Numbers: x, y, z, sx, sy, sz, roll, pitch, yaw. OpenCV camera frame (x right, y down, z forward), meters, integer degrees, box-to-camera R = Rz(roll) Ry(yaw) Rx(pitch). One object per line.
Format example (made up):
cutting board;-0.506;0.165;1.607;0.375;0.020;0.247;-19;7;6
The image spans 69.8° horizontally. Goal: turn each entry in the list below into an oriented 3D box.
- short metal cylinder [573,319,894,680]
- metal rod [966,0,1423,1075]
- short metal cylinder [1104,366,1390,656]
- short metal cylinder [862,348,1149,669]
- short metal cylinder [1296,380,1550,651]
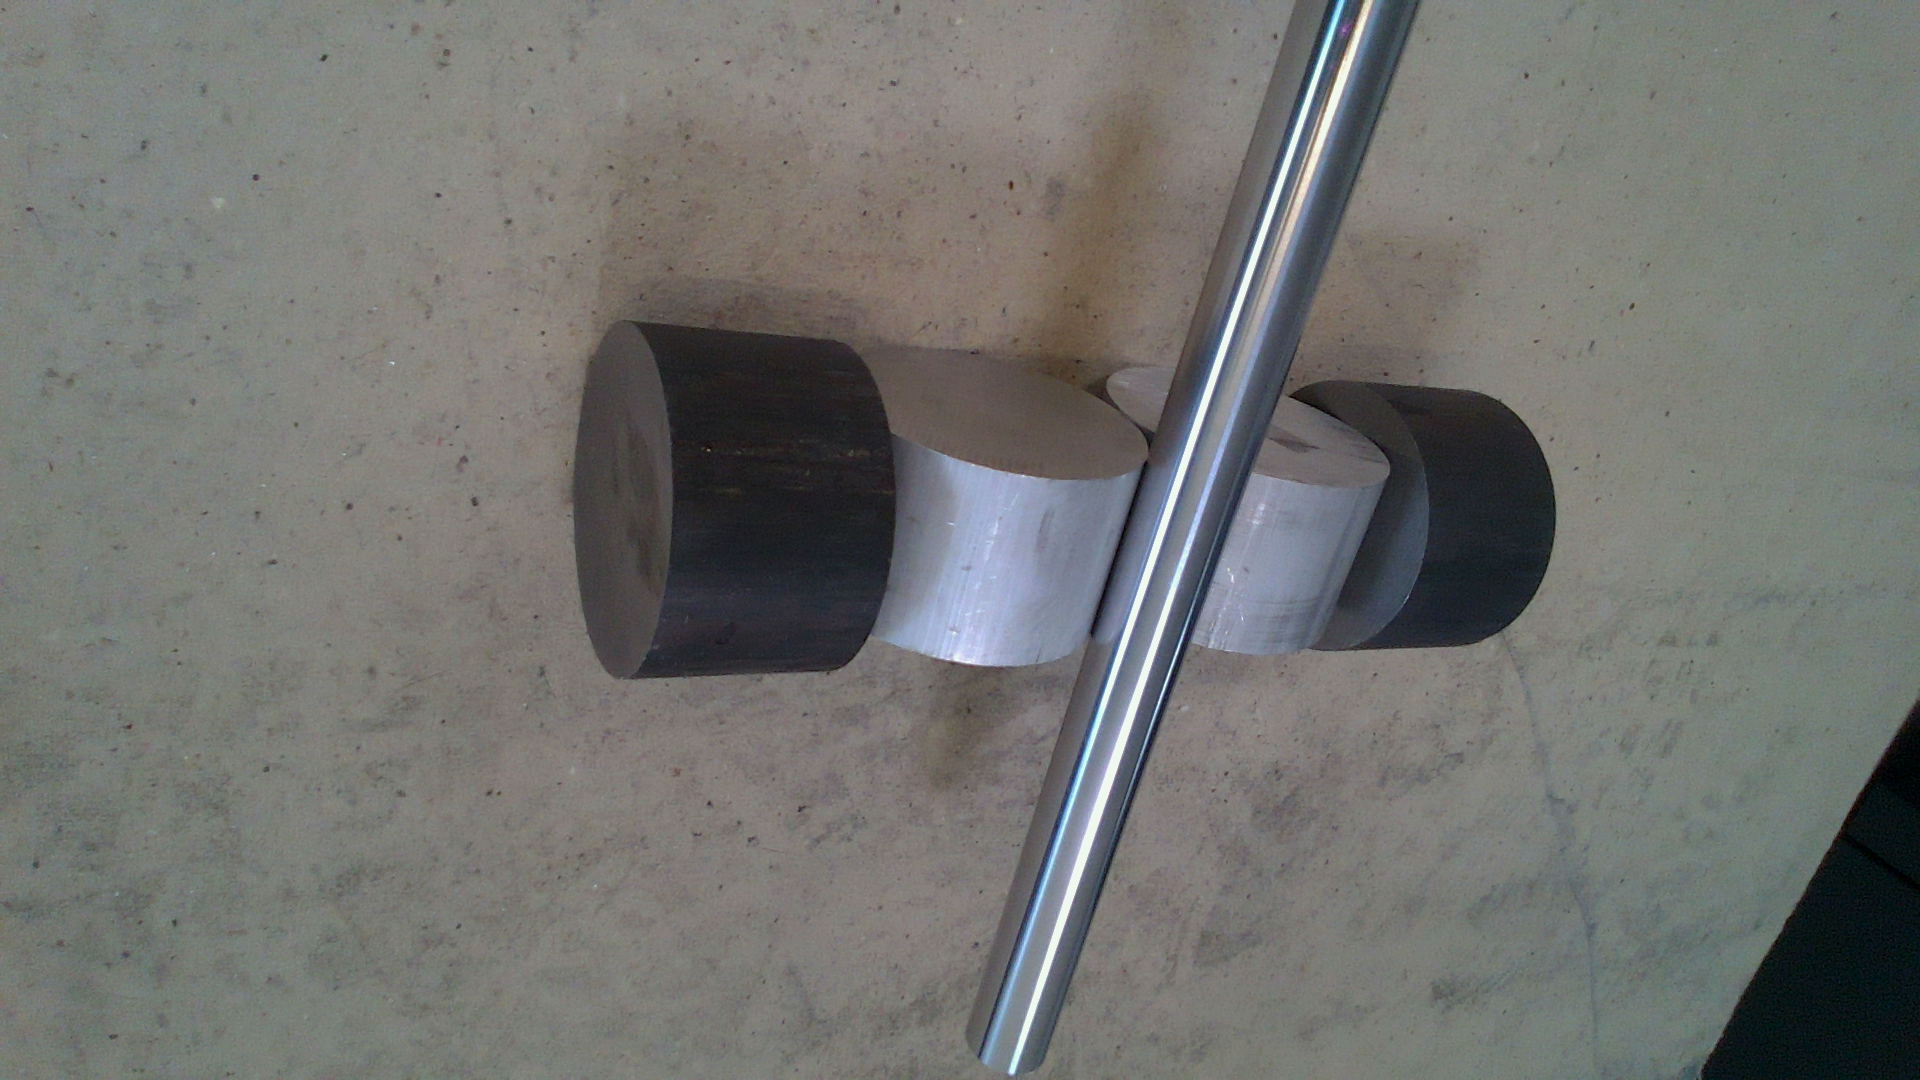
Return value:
short metal cylinder;-0.055;-0.009;0.319;0.050;0.080;0.080;1;118;-29
metal rod;0.049;0.017;0.347;0.025;0.025;0.300;1;118;-29
short metal cylinder;0.073;-0.010;0.387;0.080;0.080;0.050;1;118;-29
short metal cylinder;0.002;-0.010;0.349;0.080;0.080;0.050;1;118;-29
short metal cylinder;0.129;-0.007;0.420;0.050;0.080;0.080;1;118;-29
